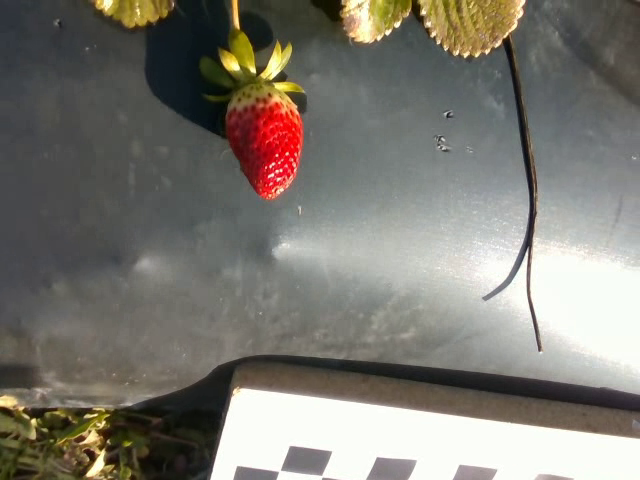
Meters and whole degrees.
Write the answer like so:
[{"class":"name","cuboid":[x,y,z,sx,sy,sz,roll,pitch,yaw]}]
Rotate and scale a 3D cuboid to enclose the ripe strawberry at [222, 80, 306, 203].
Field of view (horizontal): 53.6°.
[{"class":"ripe strawberry","cuboid":[-0.017,-0.029,0.192,0.028,0.041,0.031,-10,-19,6]}]
